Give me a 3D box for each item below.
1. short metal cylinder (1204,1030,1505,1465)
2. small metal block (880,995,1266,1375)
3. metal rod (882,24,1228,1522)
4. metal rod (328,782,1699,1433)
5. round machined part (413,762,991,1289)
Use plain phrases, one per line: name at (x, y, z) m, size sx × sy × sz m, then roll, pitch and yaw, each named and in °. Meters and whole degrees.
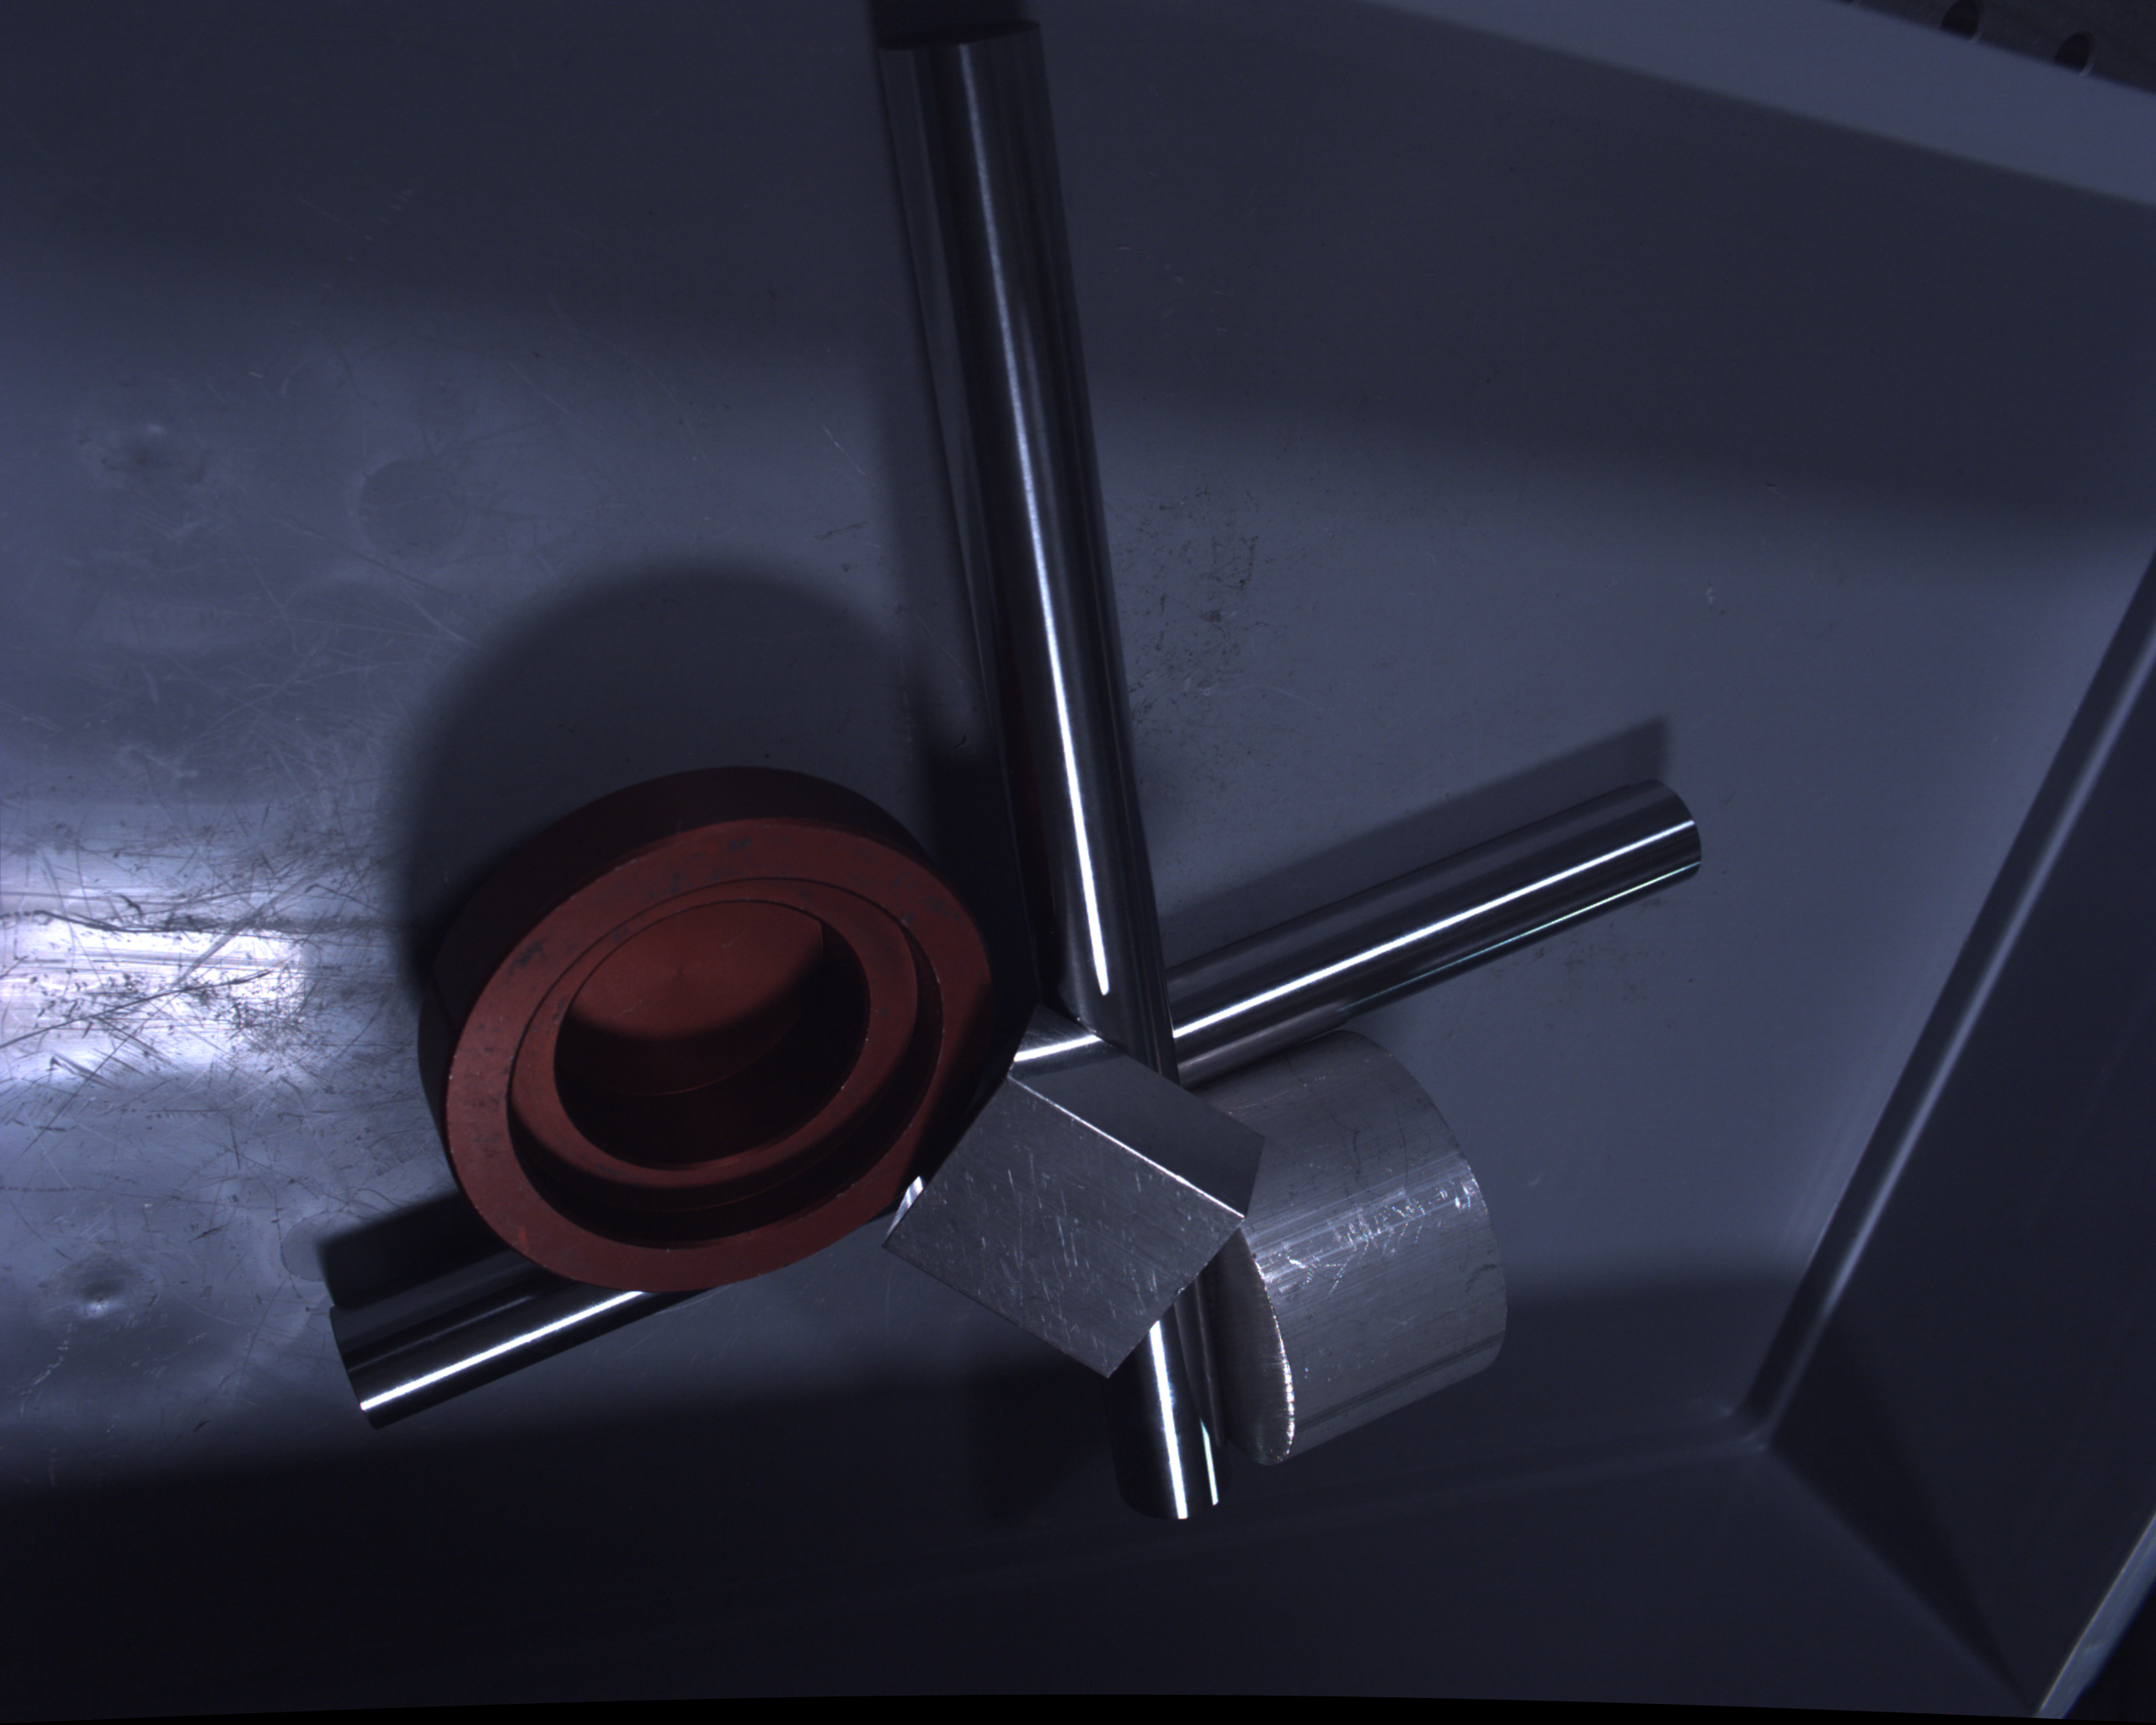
short metal cylinder at (0.048, 0.082, 0.450) m, size 0.050 × 0.080 × 0.079 m, roll -18°, pitch 126°, yaw -18°
small metal block at (-0.001, 0.061, 0.392) m, size 0.050 × 0.025 × 0.050 m, roll 32°, pitch 121°, yaw -5°
metal rod at (0.002, 0.004, 0.389) m, size 0.025 × 0.025 × 0.298 m, roll -18°, pitch 119°, yaw -18°
metal rod at (-0.001, 0.044, 0.435) m, size 0.302 × 0.025 × 0.025 m, roll -21°, pitch 127°, yaw -17°
round machined part at (-0.069, 0.025, 0.375) m, size 0.099 × 0.042 × 0.097 m, roll -14°, pitch 125°, yaw -21°
